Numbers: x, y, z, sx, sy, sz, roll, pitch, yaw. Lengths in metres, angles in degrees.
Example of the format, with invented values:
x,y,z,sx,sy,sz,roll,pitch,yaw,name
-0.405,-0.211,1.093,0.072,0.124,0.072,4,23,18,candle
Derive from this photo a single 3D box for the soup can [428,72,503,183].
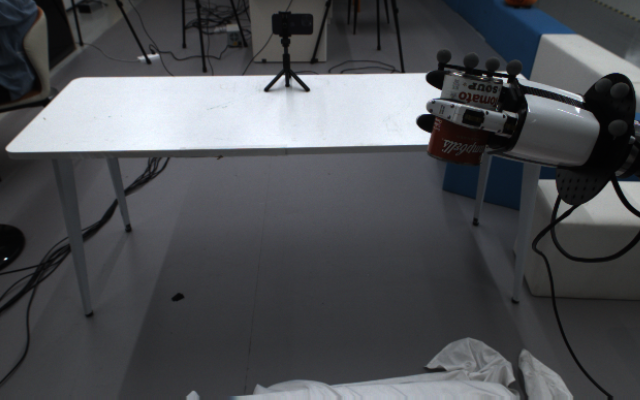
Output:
x,y,z,sx,sy,sz,roll,pitch,yaw,name
0.174,-0.099,0.582,0.067,0.101,0.067,9,19,-3,soup can
